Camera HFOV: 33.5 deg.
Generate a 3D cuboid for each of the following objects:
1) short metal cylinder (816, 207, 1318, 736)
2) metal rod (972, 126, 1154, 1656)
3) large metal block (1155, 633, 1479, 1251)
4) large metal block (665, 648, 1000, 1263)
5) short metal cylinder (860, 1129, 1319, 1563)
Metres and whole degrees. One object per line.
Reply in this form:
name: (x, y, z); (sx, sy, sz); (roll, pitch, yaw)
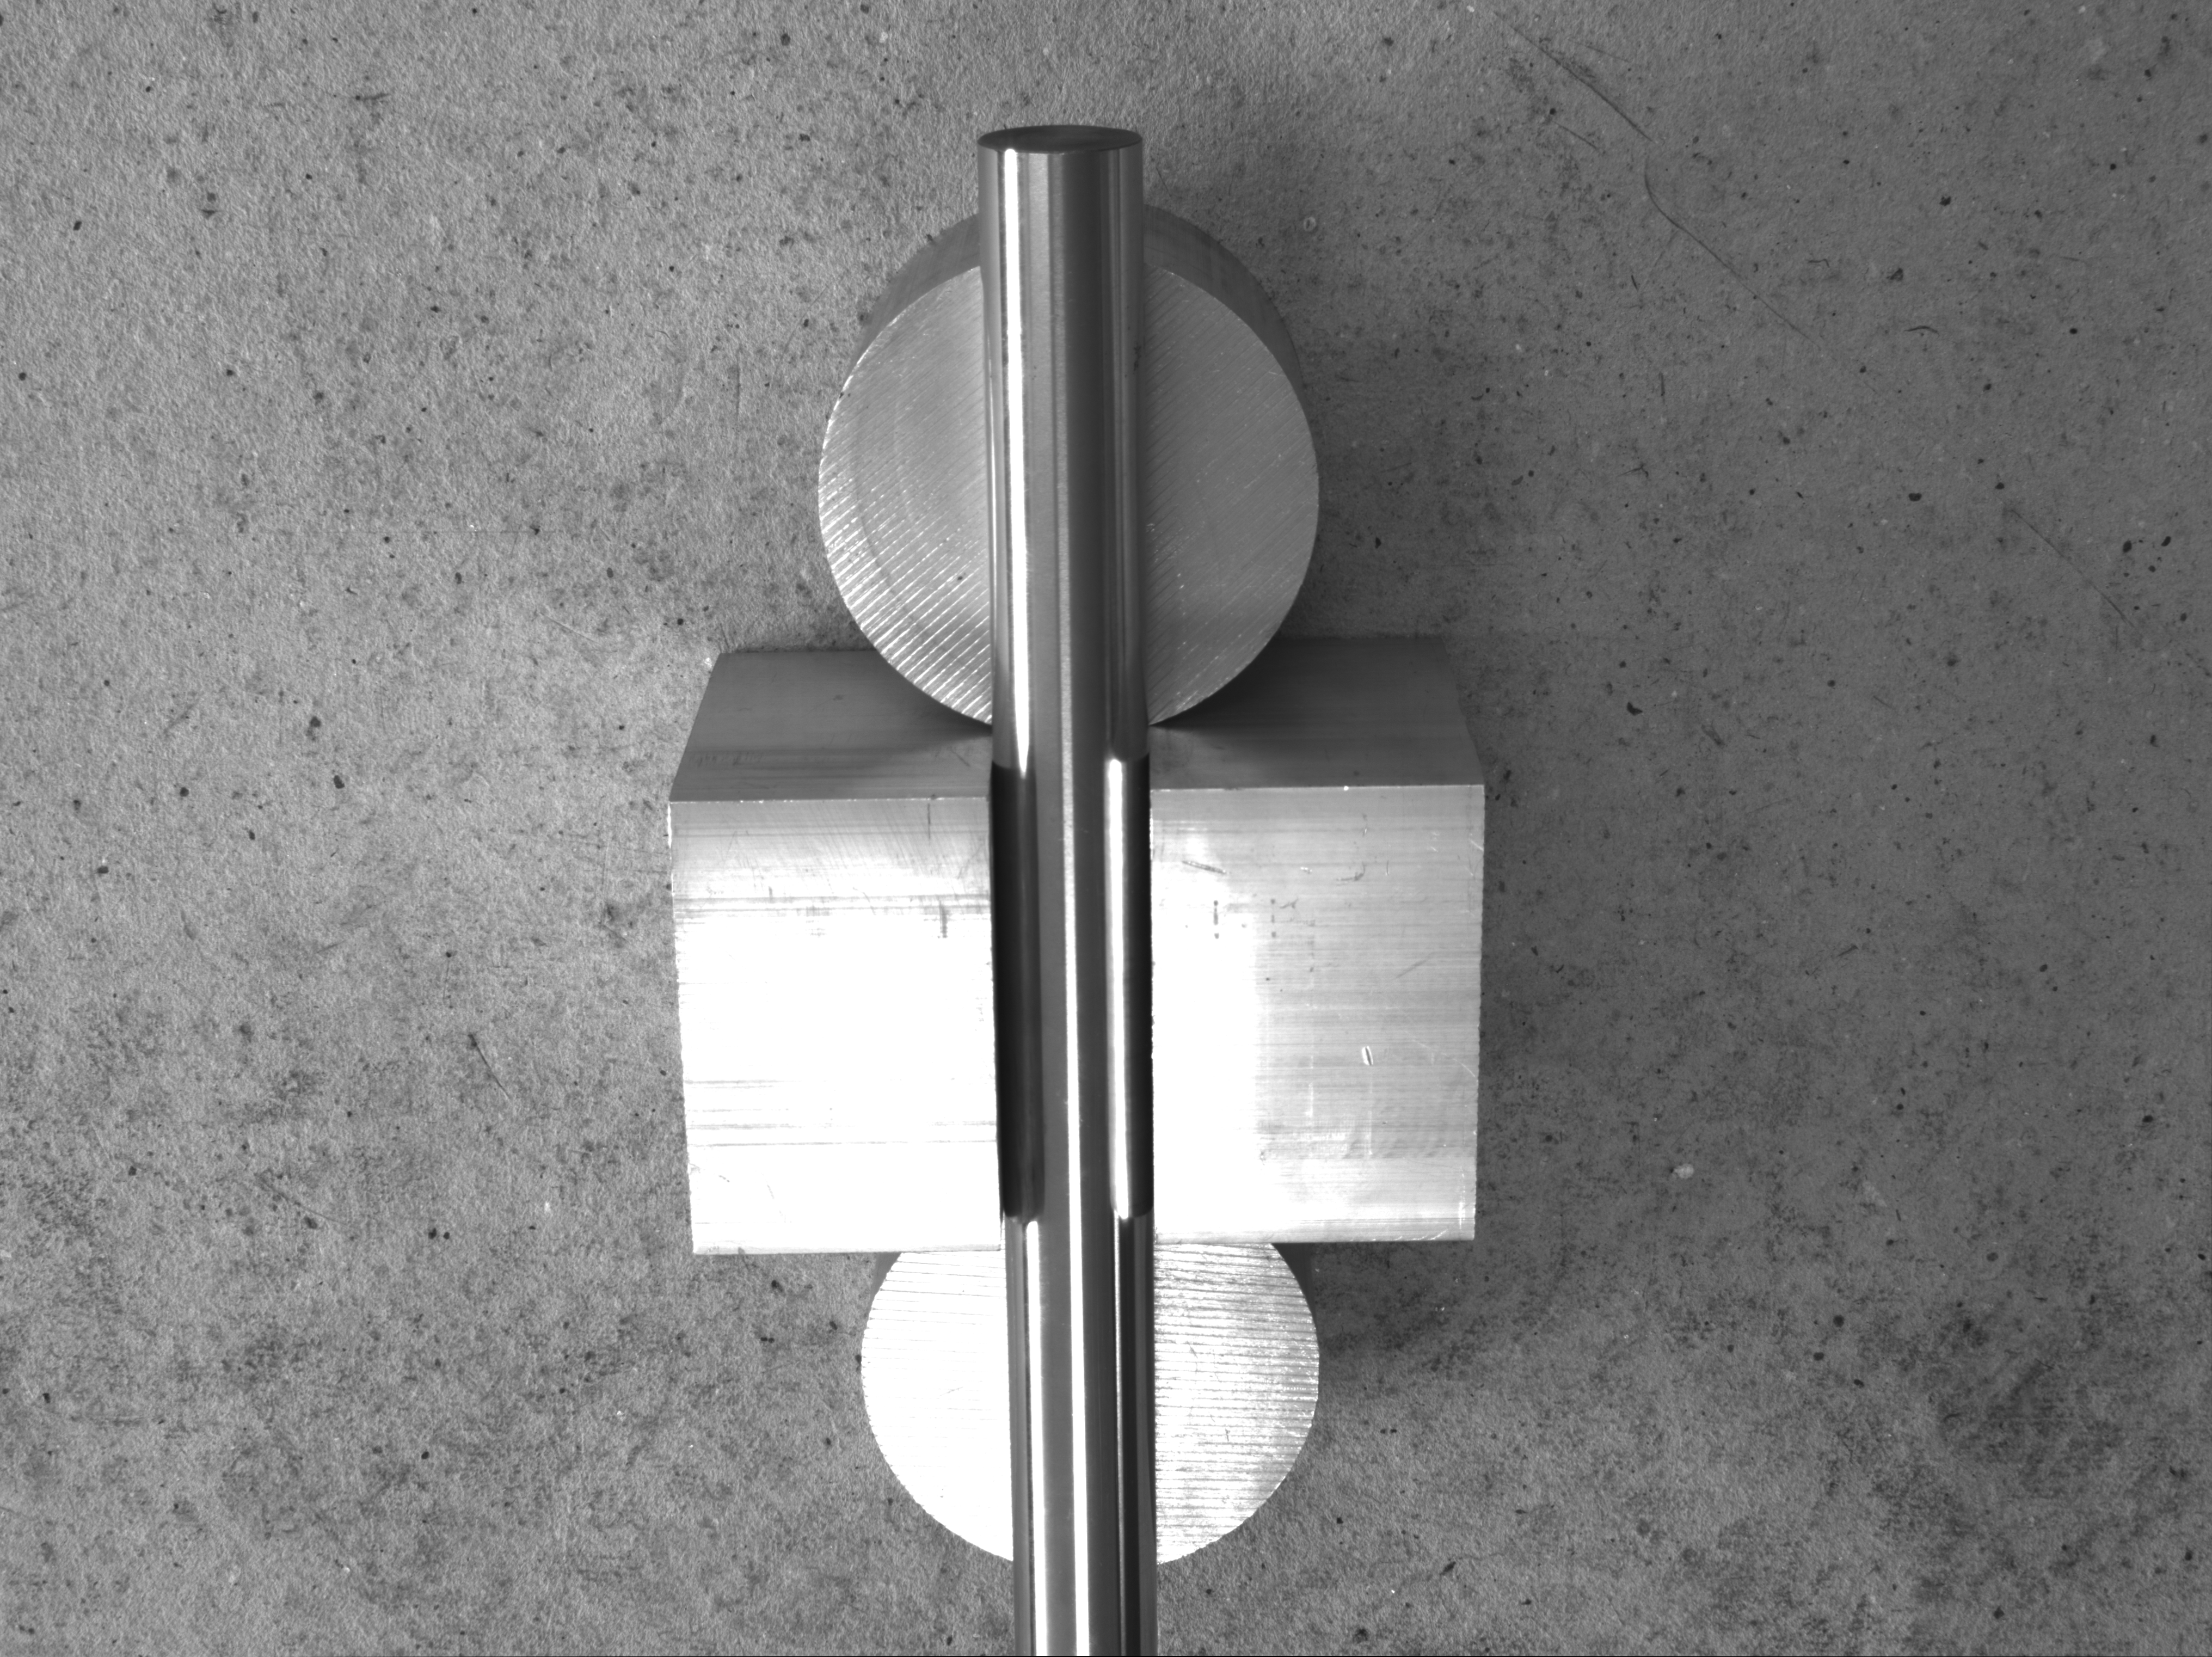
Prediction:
short metal cylinder: (-0.006, -0.061, 0.609); (0.080, 0.050, 0.080); (0, 109, 0)
metal rod: (-0.006, 0.037, 0.604); (0.025, 0.025, 0.300); (-1, 110, 0)
large metal block: (0.034, 0.017, 0.621); (0.050, 0.080, 0.080); (-1, 110, 0)
large metal block: (-0.043, 0.019, 0.622); (0.050, 0.080, 0.080); (-1, 110, 0)
short metal cylinder: (-0.003, 0.087, 0.663); (0.080, 0.050, 0.080); (0, 109, 0)
